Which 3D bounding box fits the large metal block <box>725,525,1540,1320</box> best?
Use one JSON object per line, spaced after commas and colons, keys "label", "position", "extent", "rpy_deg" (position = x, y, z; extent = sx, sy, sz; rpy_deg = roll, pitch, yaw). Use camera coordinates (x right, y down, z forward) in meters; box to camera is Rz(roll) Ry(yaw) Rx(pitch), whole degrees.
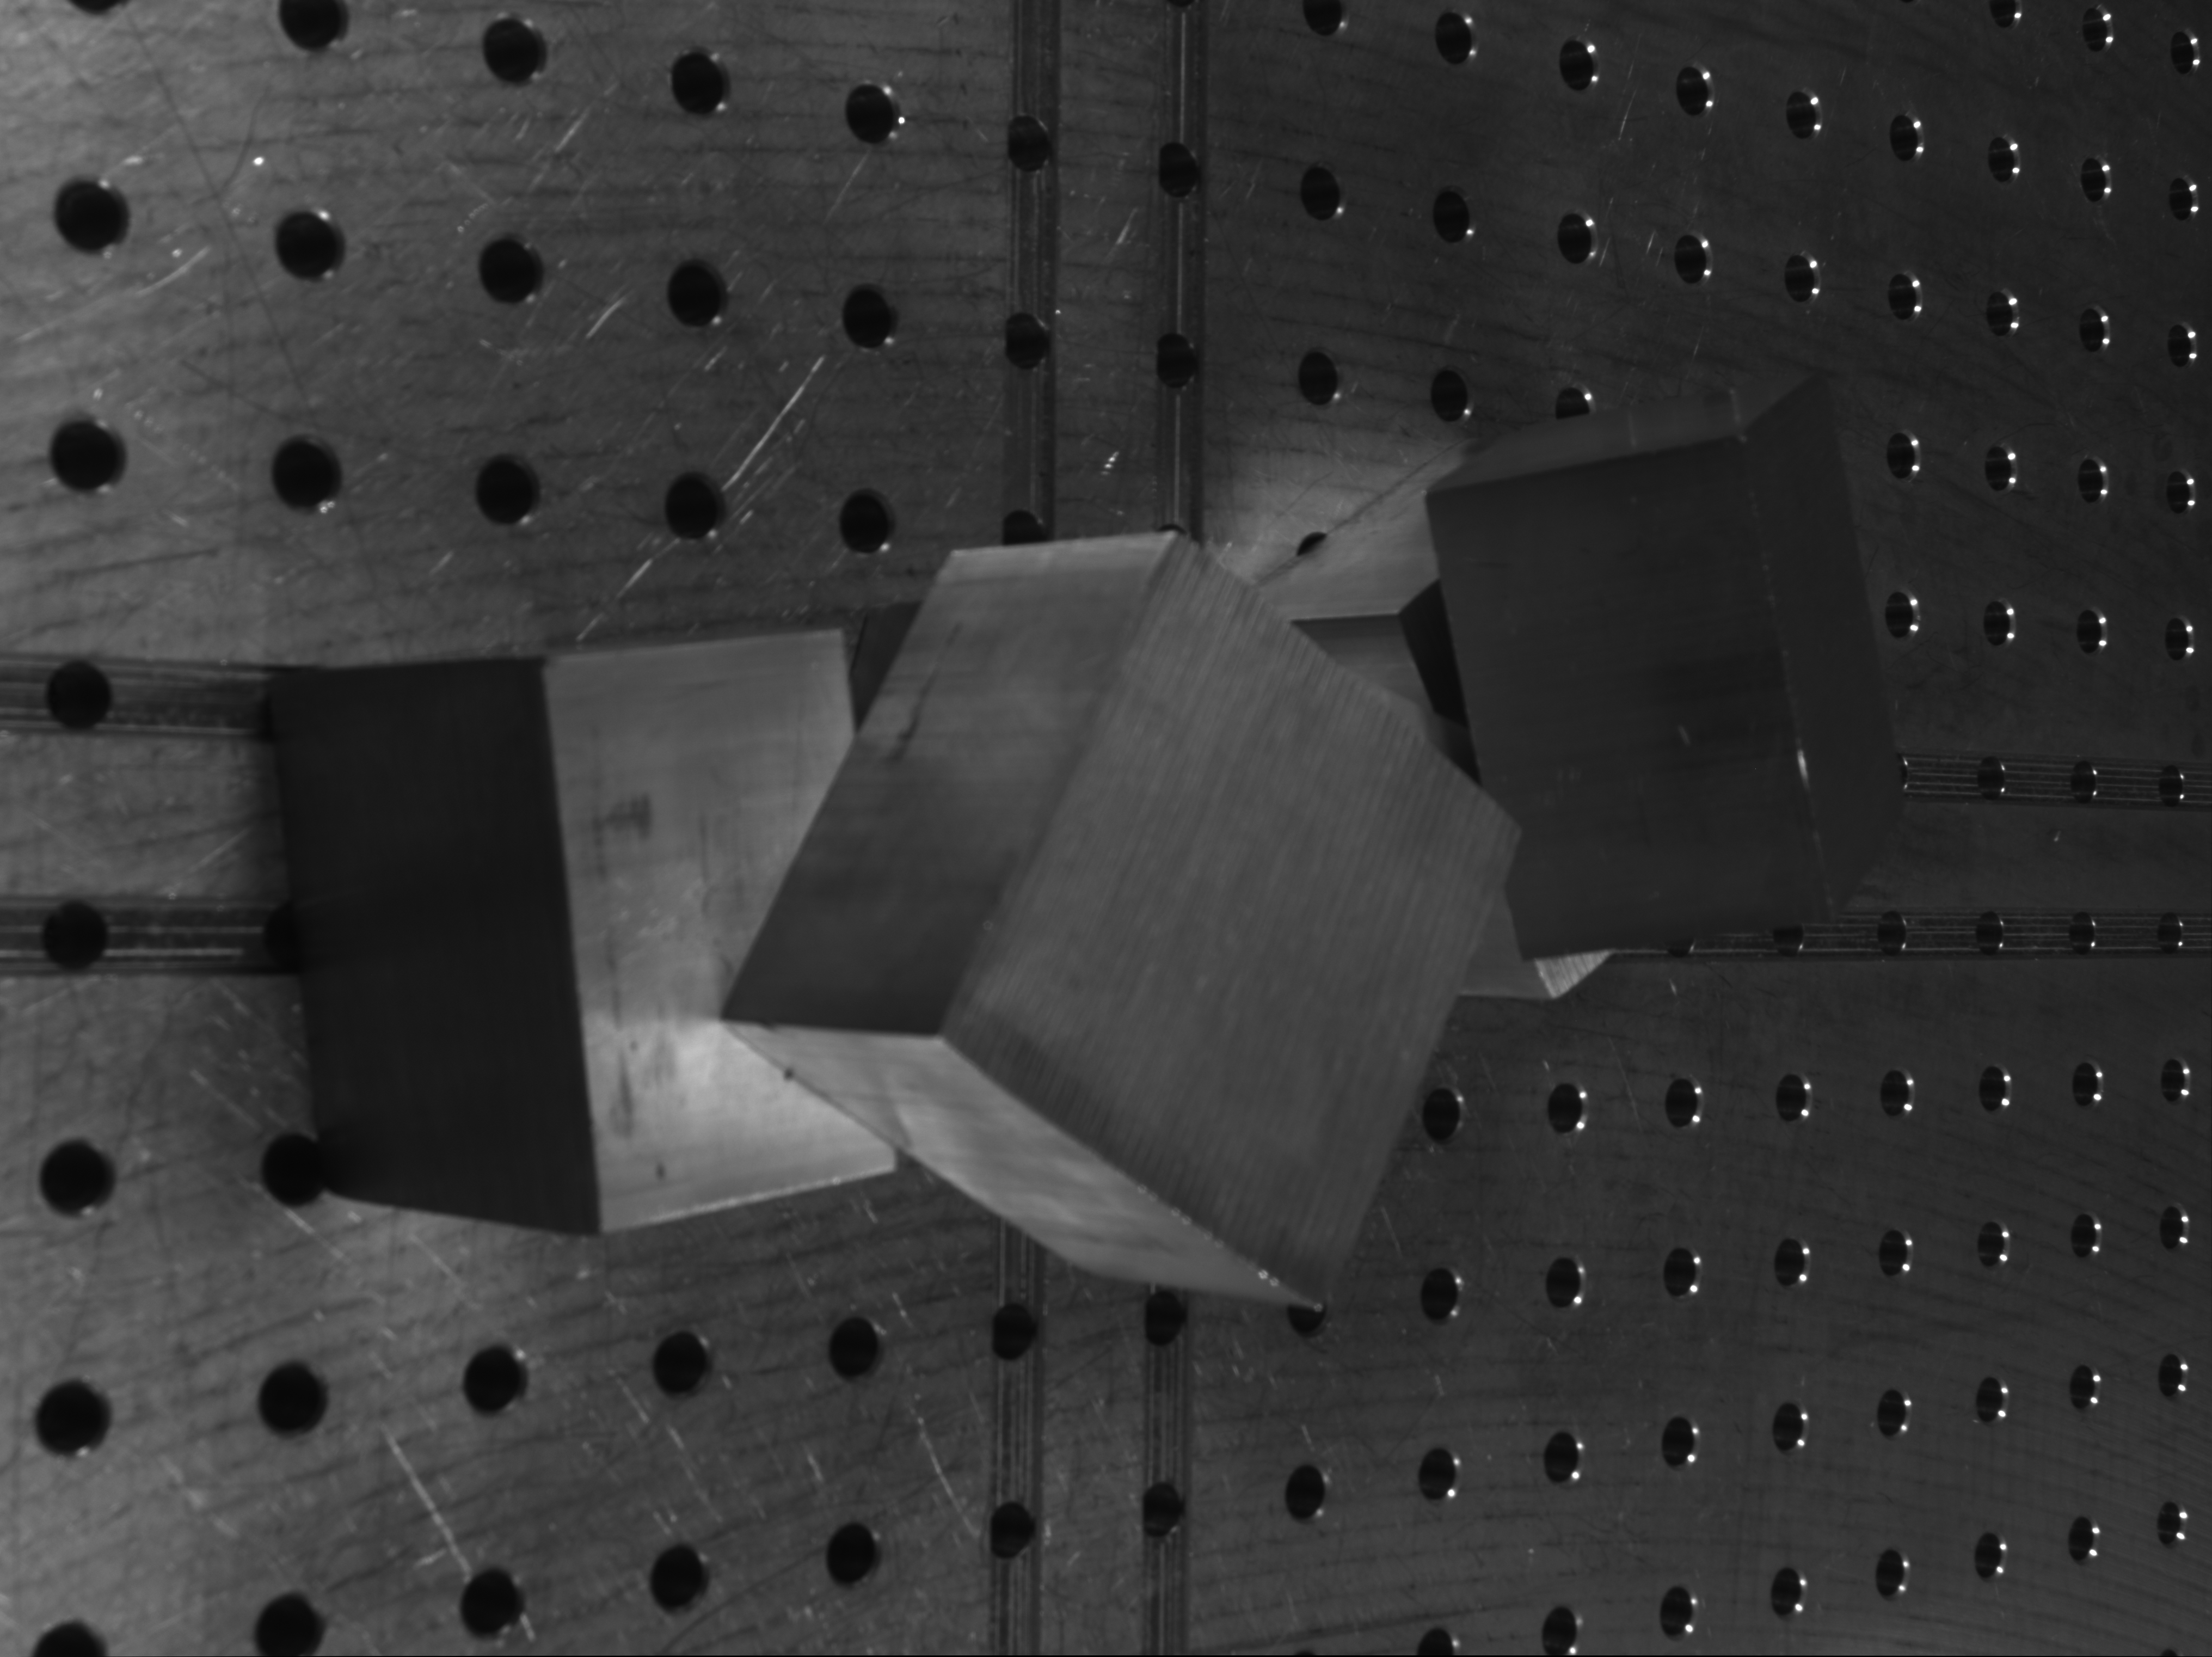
{"label": "large metal block", "position": [0.006, 0.014, 0.524], "extent": [0.080, 0.050, 0.080], "rpy_deg": [38, 67, -33]}

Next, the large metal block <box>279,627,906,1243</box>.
{"label": "large metal block", "position": [-0.077, 0.014, 0.540], "extent": [0.050, 0.080, 0.080], "rpy_deg": [-8, 95, -39]}

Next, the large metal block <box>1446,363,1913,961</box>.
{"label": "large metal block", "position": [0.099, -0.030, 0.618], "extent": [0.080, 0.050, 0.080], "rpy_deg": [-36, 115, -65]}

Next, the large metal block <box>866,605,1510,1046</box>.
{"label": "large metal block", "position": [0.010, -0.001, 0.612], "extent": [0.080, 0.080, 0.050], "rpy_deg": [24, 75, -37]}

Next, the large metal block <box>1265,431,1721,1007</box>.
{"label": "large metal block", "position": [0.077, -0.022, 0.689], "extent": [0.080, 0.050, 0.080], "rpy_deg": [-37, 113, -34]}
